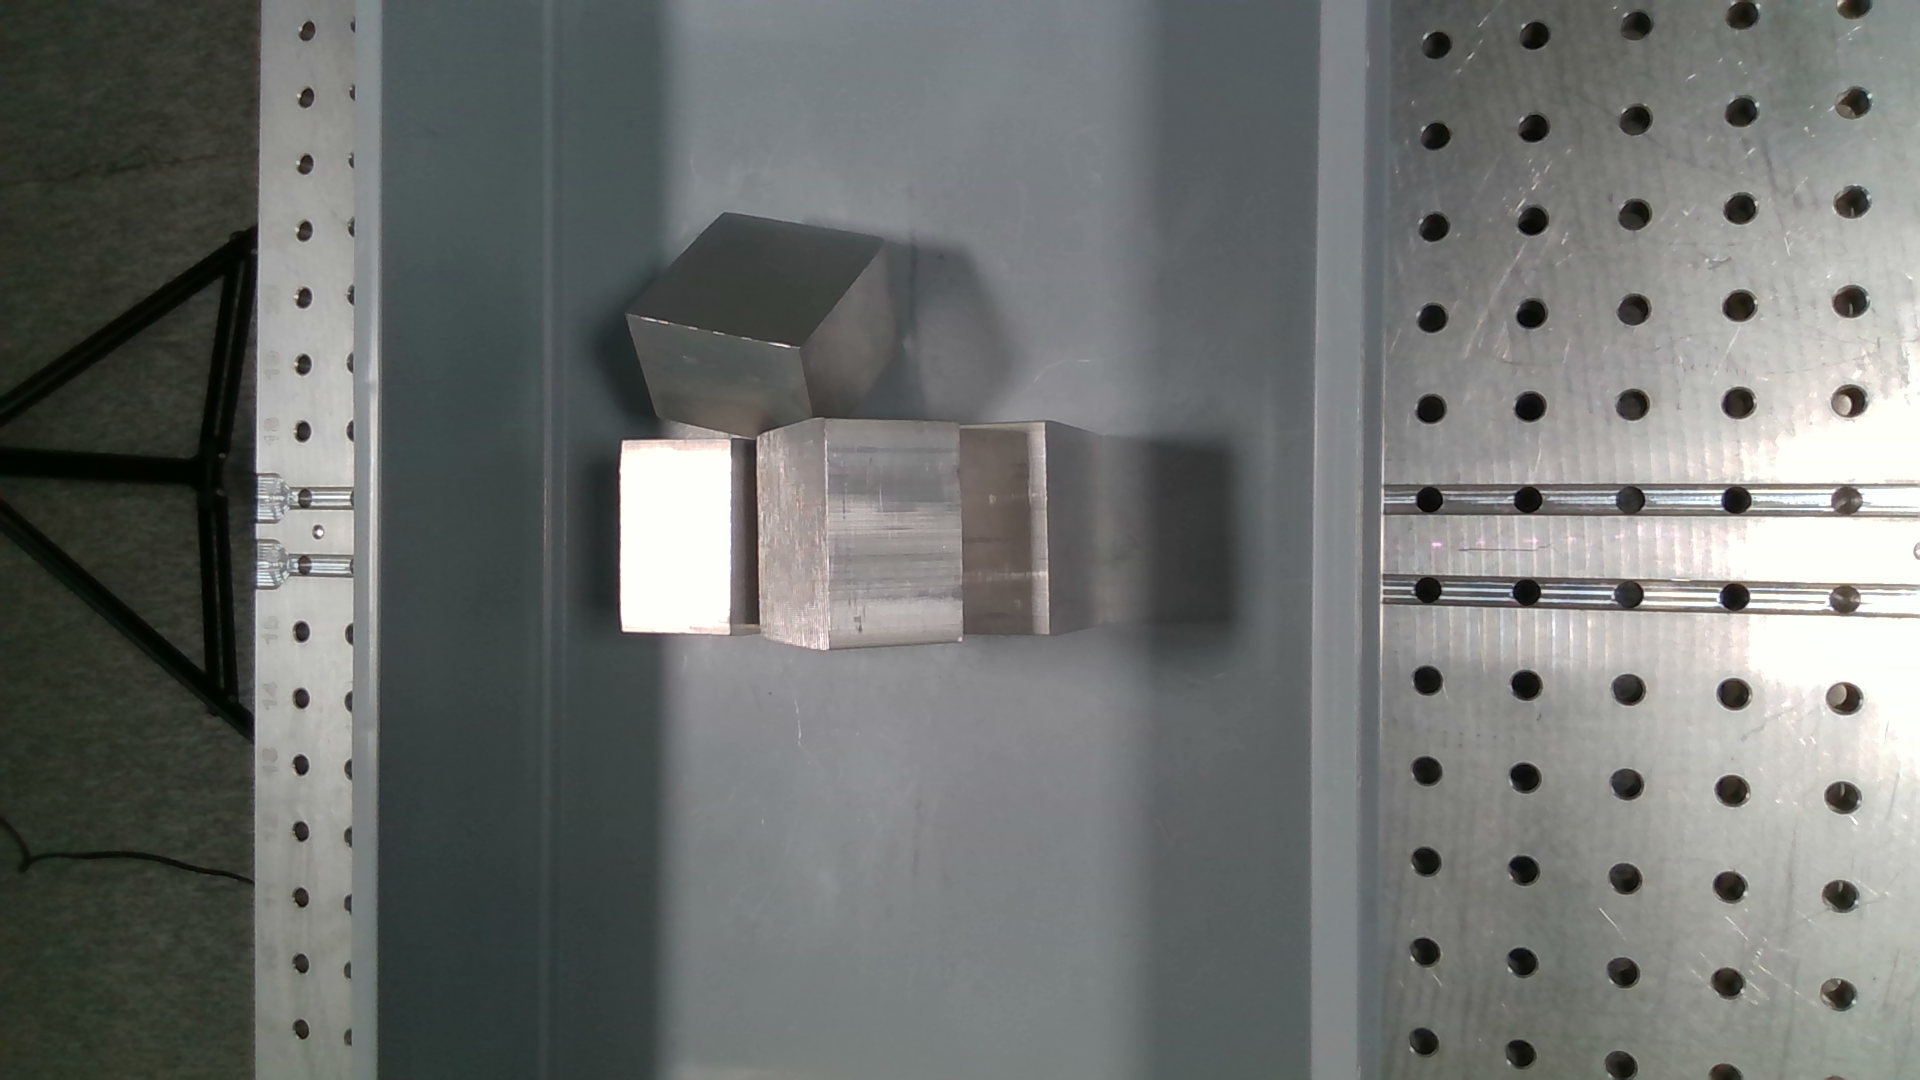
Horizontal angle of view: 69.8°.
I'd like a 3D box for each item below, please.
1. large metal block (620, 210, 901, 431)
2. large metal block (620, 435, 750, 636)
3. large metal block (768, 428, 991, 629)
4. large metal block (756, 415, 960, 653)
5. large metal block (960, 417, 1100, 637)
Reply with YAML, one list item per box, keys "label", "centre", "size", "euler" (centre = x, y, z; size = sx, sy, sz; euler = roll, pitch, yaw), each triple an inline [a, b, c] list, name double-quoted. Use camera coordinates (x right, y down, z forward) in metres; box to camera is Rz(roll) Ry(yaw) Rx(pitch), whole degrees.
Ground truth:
- label: "large metal block"
  centre: [-0.080, -0.090, 0.575]
  size: [0.080, 0.080, 0.050]
  euler: [13, 138, 20]
- label: "large metal block"
  centre: [-0.102, -0.002, 0.592]
  size: [0.050, 0.080, 0.080]
  euler: [0, 90, 20]
- label: "large metal block"
  centre: [-0.034, -0.004, 0.585]
  size: [0.080, 0.050, 0.080]
  euler: [-1, 90, 20]
- label: "large metal block"
  centre: [-0.040, -0.002, 0.510]
  size: [0.050, 0.080, 0.080]
  euler: [-1, 90, -25]
- label: "large metal block"
  centre: [0.022, -0.004, 0.546]
  size: [0.050, 0.080, 0.080]
  euler: [-1, 90, 20]
